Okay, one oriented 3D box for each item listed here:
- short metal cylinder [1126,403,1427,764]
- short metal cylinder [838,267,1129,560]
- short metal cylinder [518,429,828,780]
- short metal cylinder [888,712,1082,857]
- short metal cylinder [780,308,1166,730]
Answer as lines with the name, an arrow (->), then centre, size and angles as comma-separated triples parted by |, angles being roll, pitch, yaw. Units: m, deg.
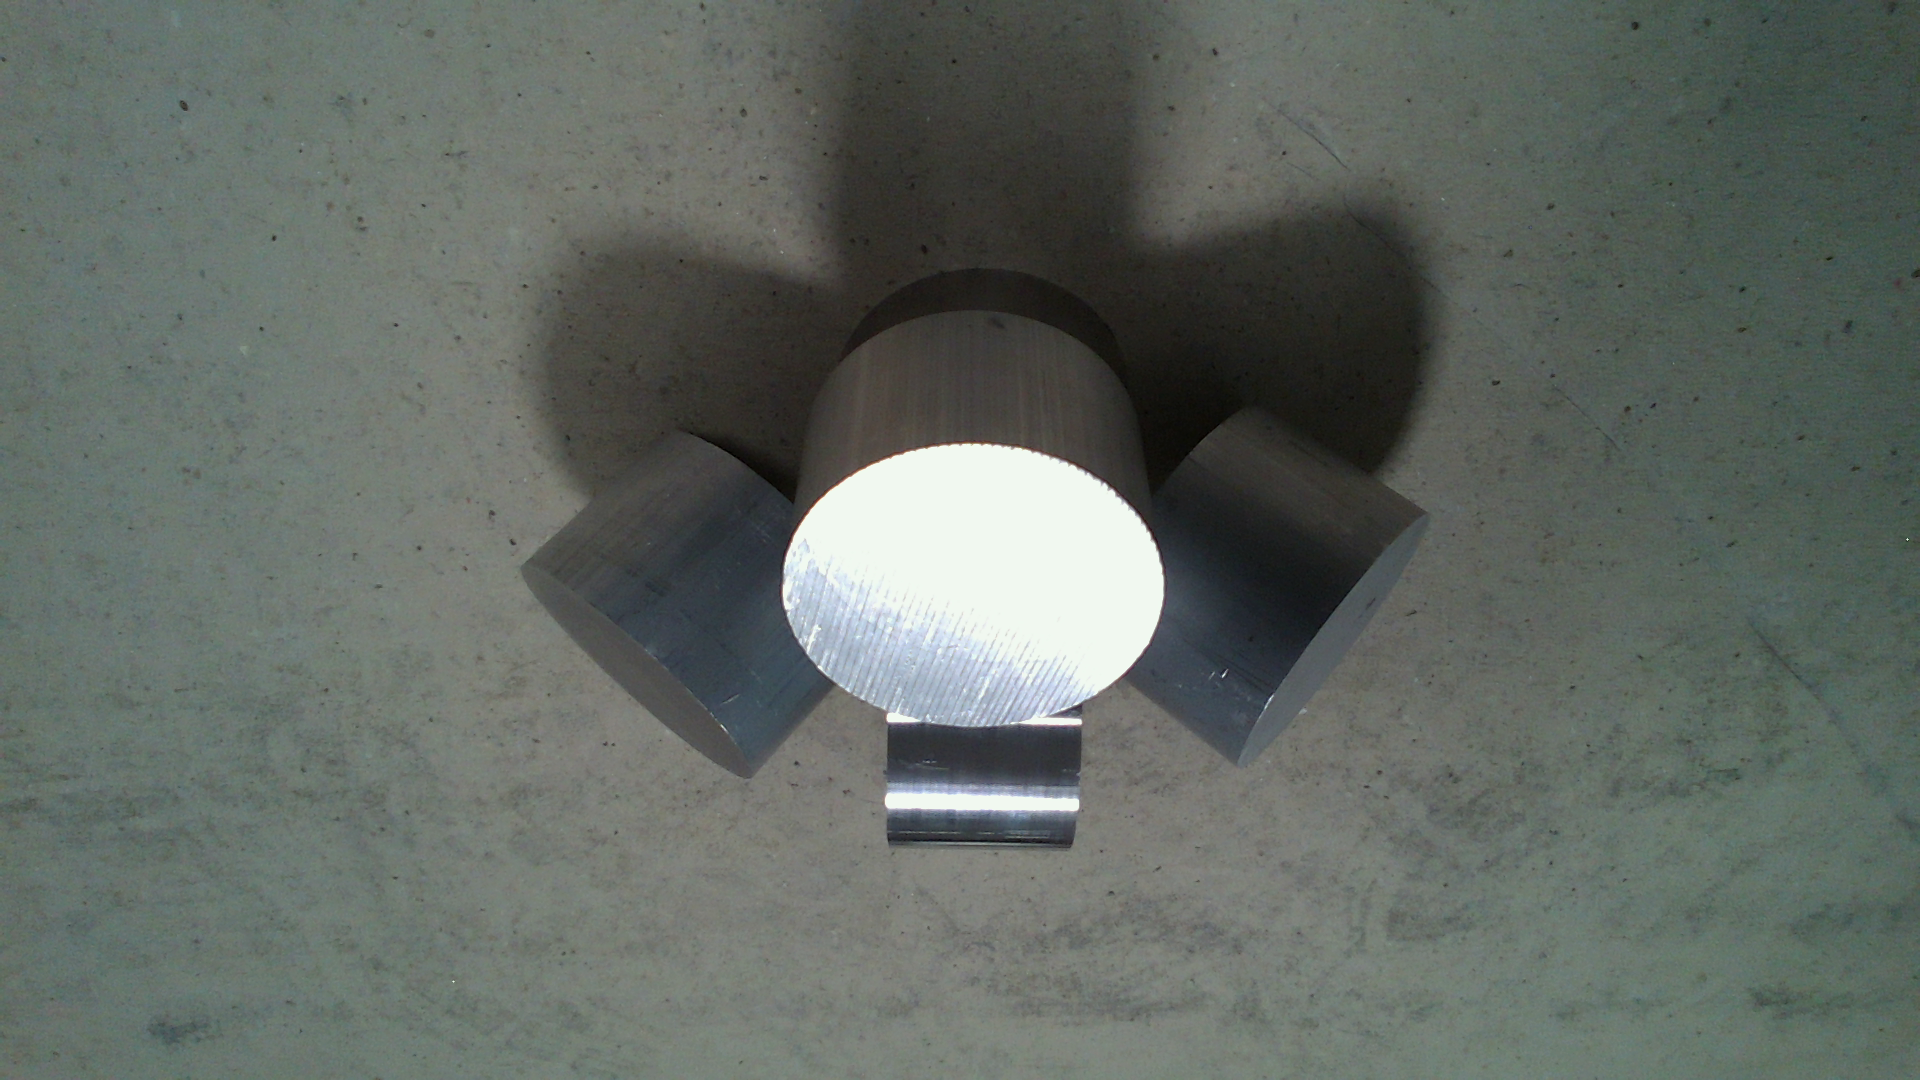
short metal cylinder -> 0.077, 0.012, 0.357 | 0.050, 0.080, 0.080 | 36, 132, 20
short metal cylinder -> 0.006, -0.022, 0.356 | 0.080, 0.050, 0.080 | 0, 130, 0
short metal cylinder -> -0.068, 0.018, 0.363 | 0.080, 0.050, 0.080 | 35, 158, 17
short metal cylinder -> 0.006, 0.050, 0.396 | 0.050, 0.080, 0.080 | 1, 130, -1
short metal cylinder -> 0.003, -0.004, 0.305 | 0.080, 0.050, 0.080 | 0, 130, 0
